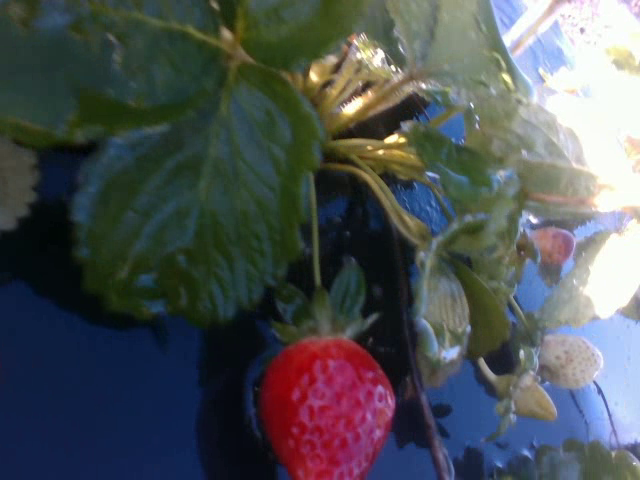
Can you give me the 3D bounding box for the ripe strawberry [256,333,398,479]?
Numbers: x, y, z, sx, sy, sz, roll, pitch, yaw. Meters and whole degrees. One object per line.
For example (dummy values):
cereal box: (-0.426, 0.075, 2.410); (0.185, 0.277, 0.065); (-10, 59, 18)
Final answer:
ripe strawberry: (0.004, 0.044, 0.138); (0.040, 0.047, 0.039); (-15, -42, 34)
